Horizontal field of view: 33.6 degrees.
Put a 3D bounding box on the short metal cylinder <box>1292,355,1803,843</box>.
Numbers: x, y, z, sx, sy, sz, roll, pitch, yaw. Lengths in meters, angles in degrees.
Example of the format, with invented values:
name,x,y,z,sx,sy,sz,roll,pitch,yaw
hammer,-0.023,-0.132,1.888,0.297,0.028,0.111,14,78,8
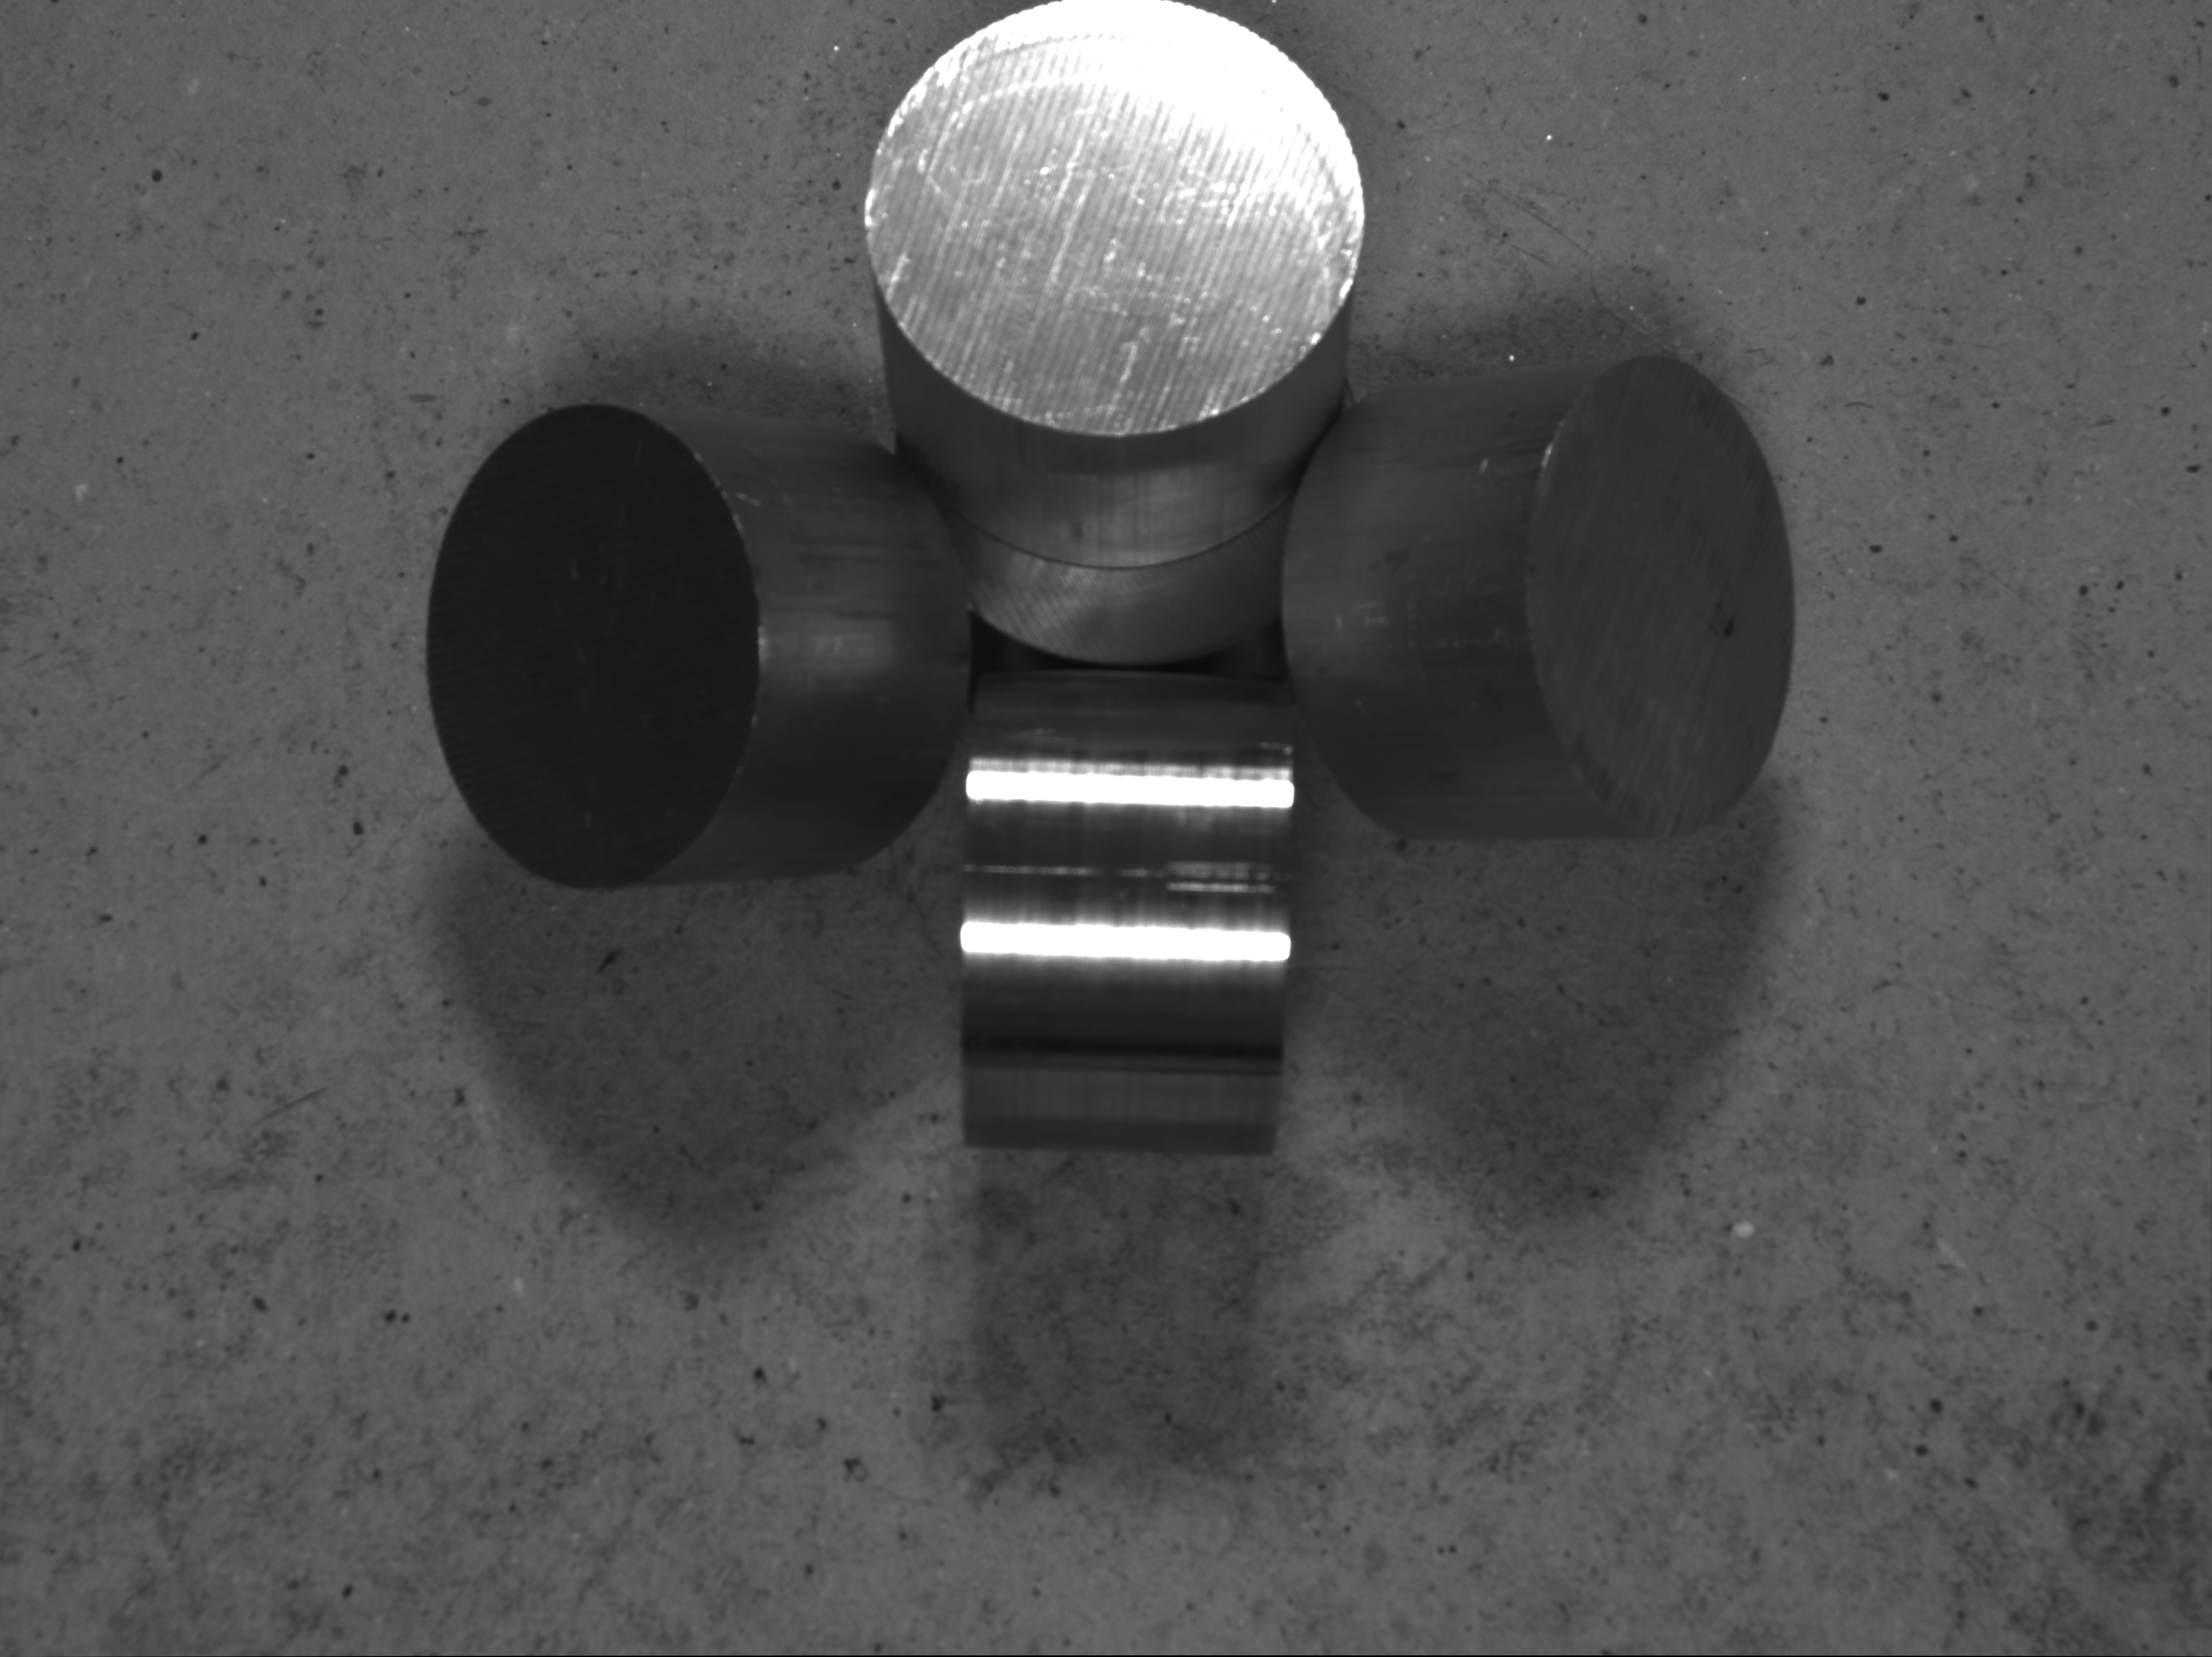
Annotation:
name,x,y,z,sx,sy,sz,roll,pitch,yaw
short metal cylinder,0.076,-0.038,0.623,0.050,0.080,0.080,-2,64,41

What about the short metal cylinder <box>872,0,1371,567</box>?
name,x,y,z,sx,sy,sz,roll,pitch,yaw
short metal cylinder,0.003,-0.091,0.611,0.080,0.050,0.080,0,70,0

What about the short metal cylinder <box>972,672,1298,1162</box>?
name,x,y,z,sx,sy,sz,roll,pitch,yaw
short metal cylinder,0.005,0.015,0.609,0.050,0.080,0.080,2,70,1

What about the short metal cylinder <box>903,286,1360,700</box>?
name,x,y,z,sx,sy,sz,roll,pitch,yaw
short metal cylinder,0.005,-0.056,0.652,0.080,0.050,0.080,0,70,0

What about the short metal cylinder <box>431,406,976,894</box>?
name,x,y,z,sx,sy,sz,roll,pitch,yaw
short metal cylinder,-0.069,-0.030,0.621,0.080,0.050,0.080,2,93,39
